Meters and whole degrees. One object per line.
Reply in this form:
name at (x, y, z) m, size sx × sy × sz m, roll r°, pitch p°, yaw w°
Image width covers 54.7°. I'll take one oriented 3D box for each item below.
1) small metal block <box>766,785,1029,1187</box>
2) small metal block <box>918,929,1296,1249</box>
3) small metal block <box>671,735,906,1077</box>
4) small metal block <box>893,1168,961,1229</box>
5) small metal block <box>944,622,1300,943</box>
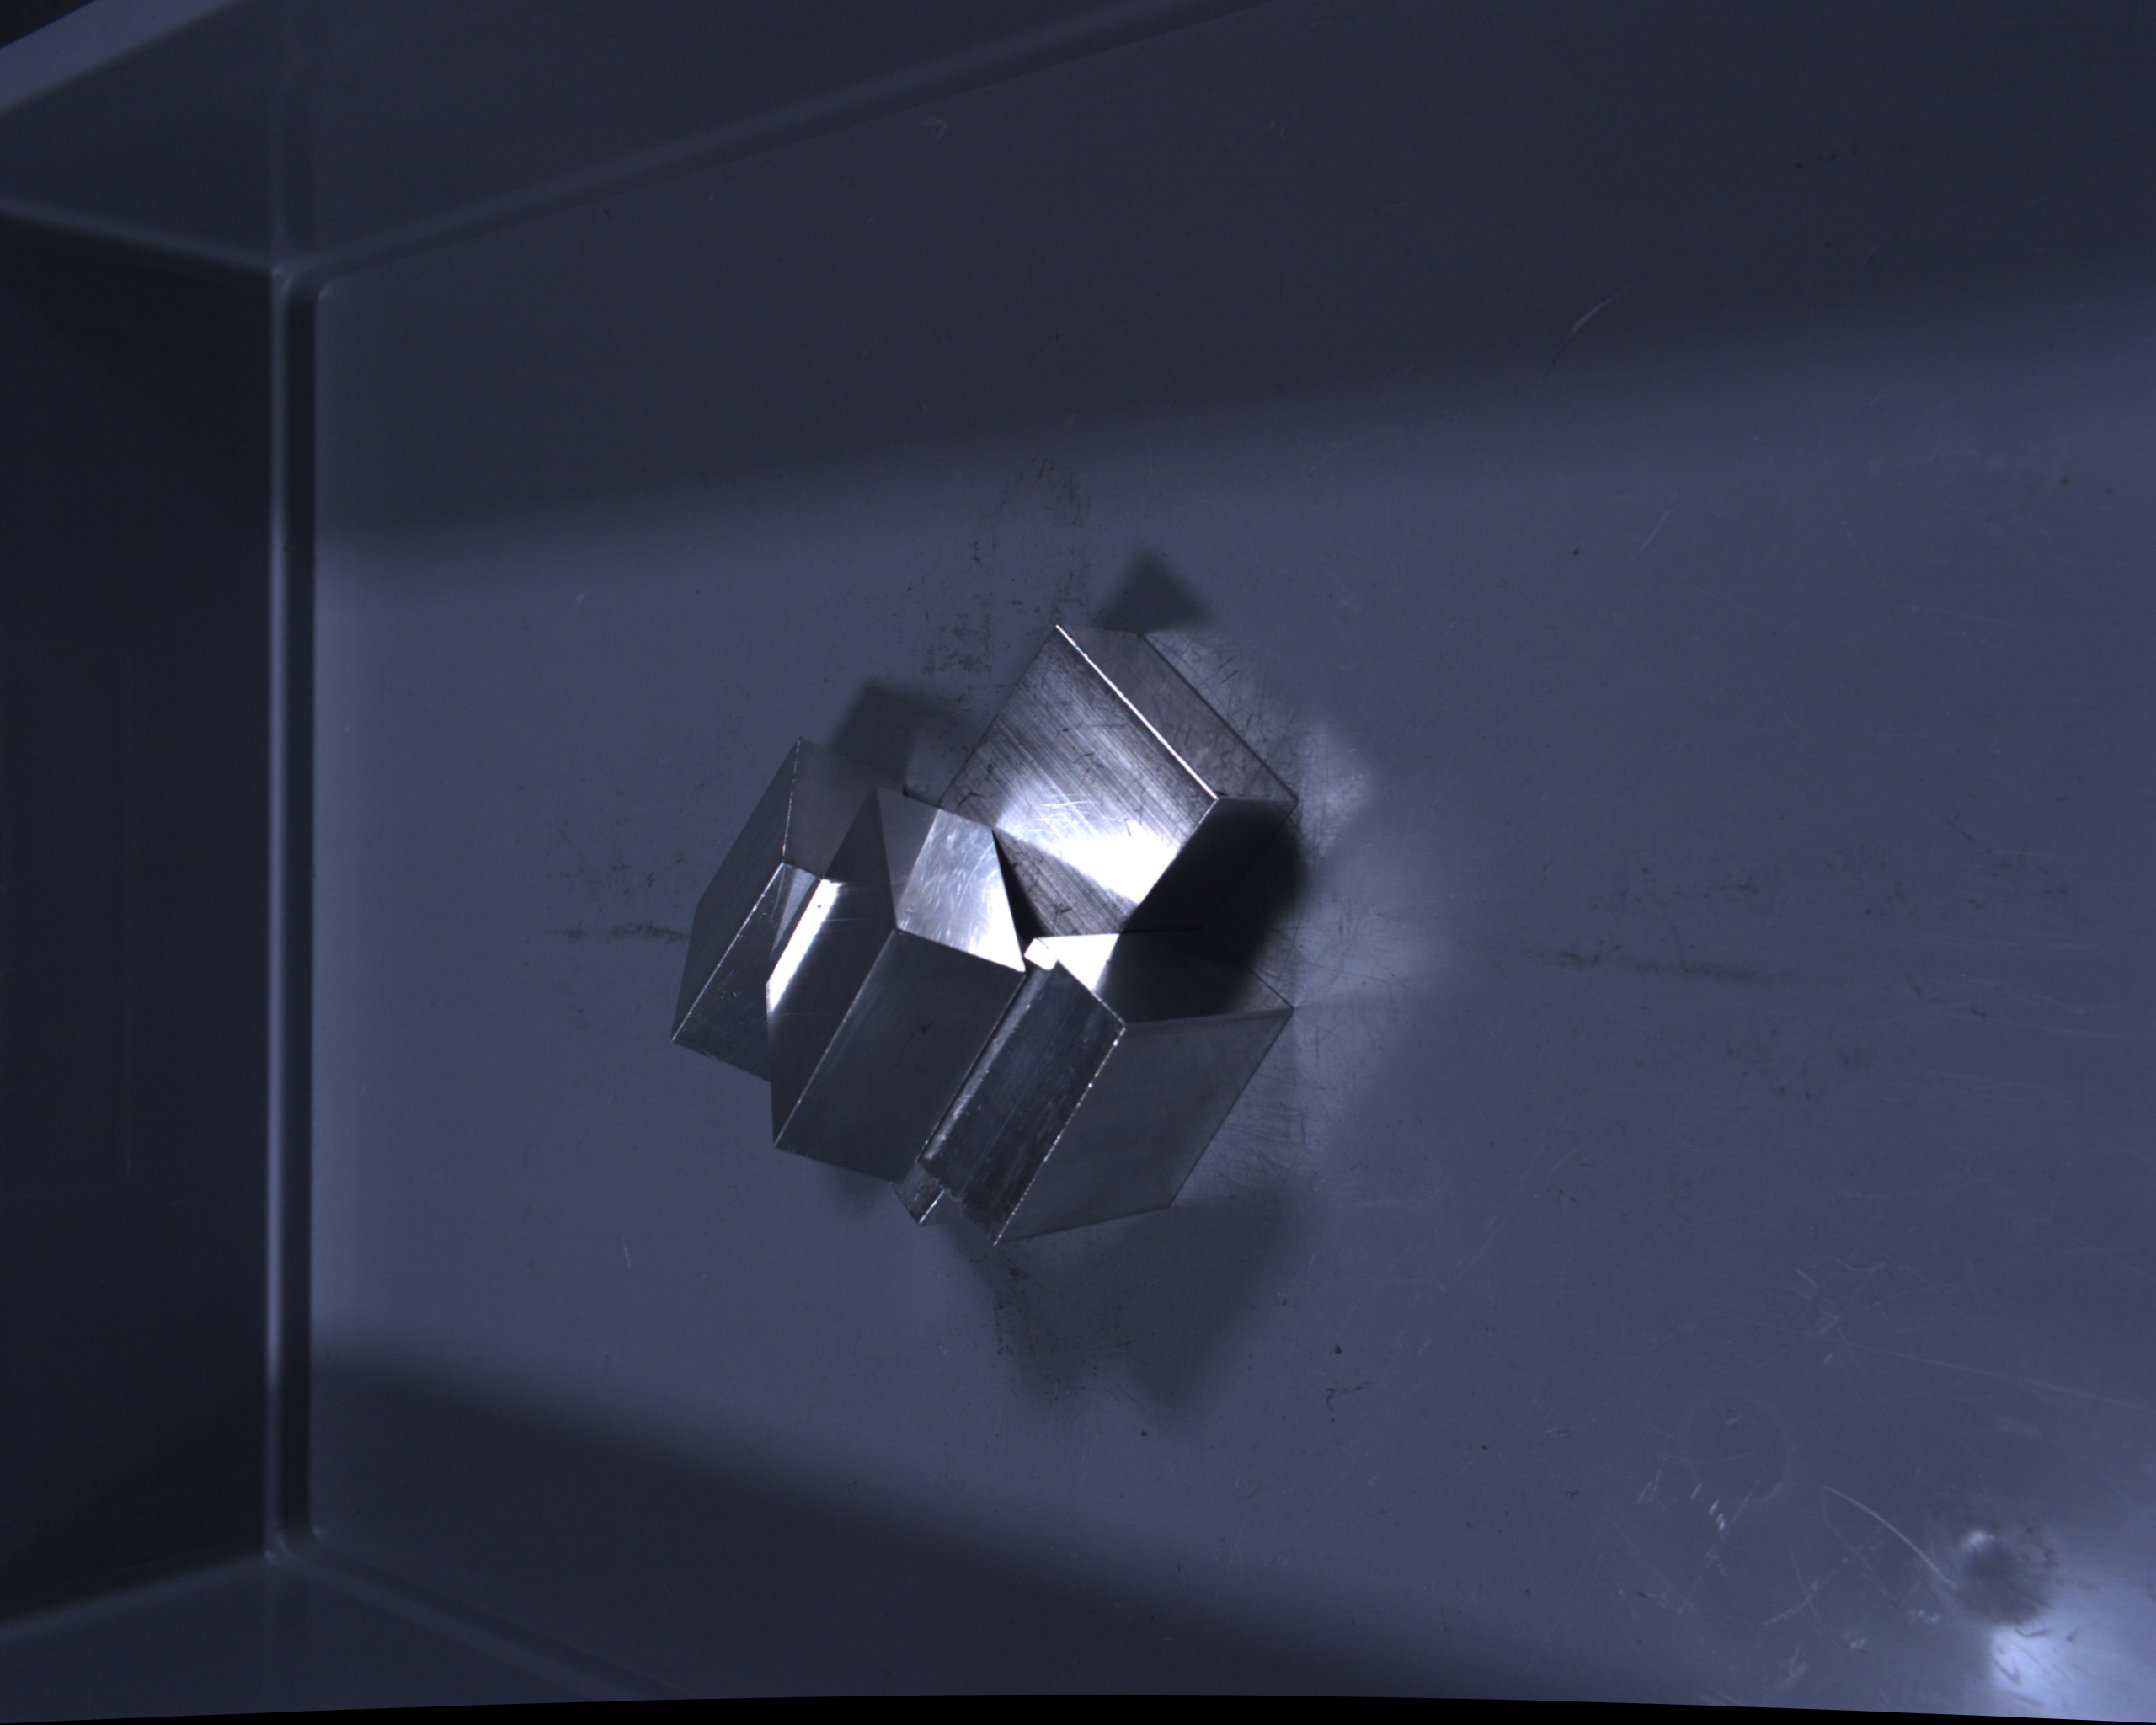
small metal block at (-0.035, 0.022, 0.383) m, size 0.050 × 0.025 × 0.050 m, roll -59°, pitch 23°, yaw 23°
small metal block at (0.005, 0.040, 0.382) m, size 0.025 × 0.050 × 0.050 m, roll 43°, pitch 116°, yaw 31°
small metal block at (-0.060, 0.010, 0.436) m, size 0.050 × 0.025 × 0.050 m, roll -55°, pitch 20°, yaw 26°
small metal block at (-0.024, 0.037, 0.422) m, size 0.050 × 0.025 × 0.050 m, roll 50°, pitch 119°, yaw 28°
small metal block at (0.006, -0.010, 0.398) m, size 0.050 × 0.025 × 0.050 m, roll 50°, pitch 119°, yaw 28°
